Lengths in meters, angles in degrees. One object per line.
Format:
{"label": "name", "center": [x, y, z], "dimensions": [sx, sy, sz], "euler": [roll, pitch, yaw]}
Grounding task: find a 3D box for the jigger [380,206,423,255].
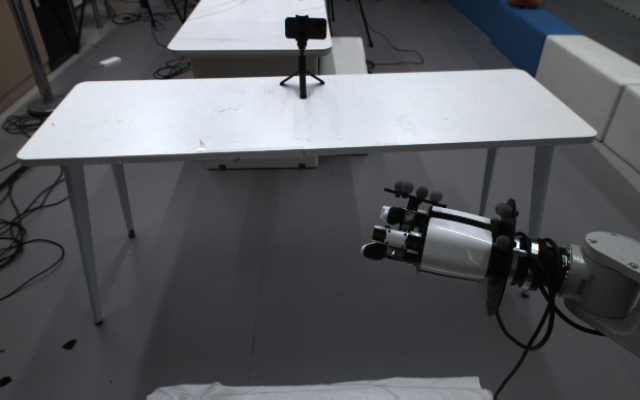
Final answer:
{"label": "jigger", "center": [0.119, 0.046, 0.674], "dimensions": [0.043, 0.071, 0.043], "euler": [17, 2, -1]}
